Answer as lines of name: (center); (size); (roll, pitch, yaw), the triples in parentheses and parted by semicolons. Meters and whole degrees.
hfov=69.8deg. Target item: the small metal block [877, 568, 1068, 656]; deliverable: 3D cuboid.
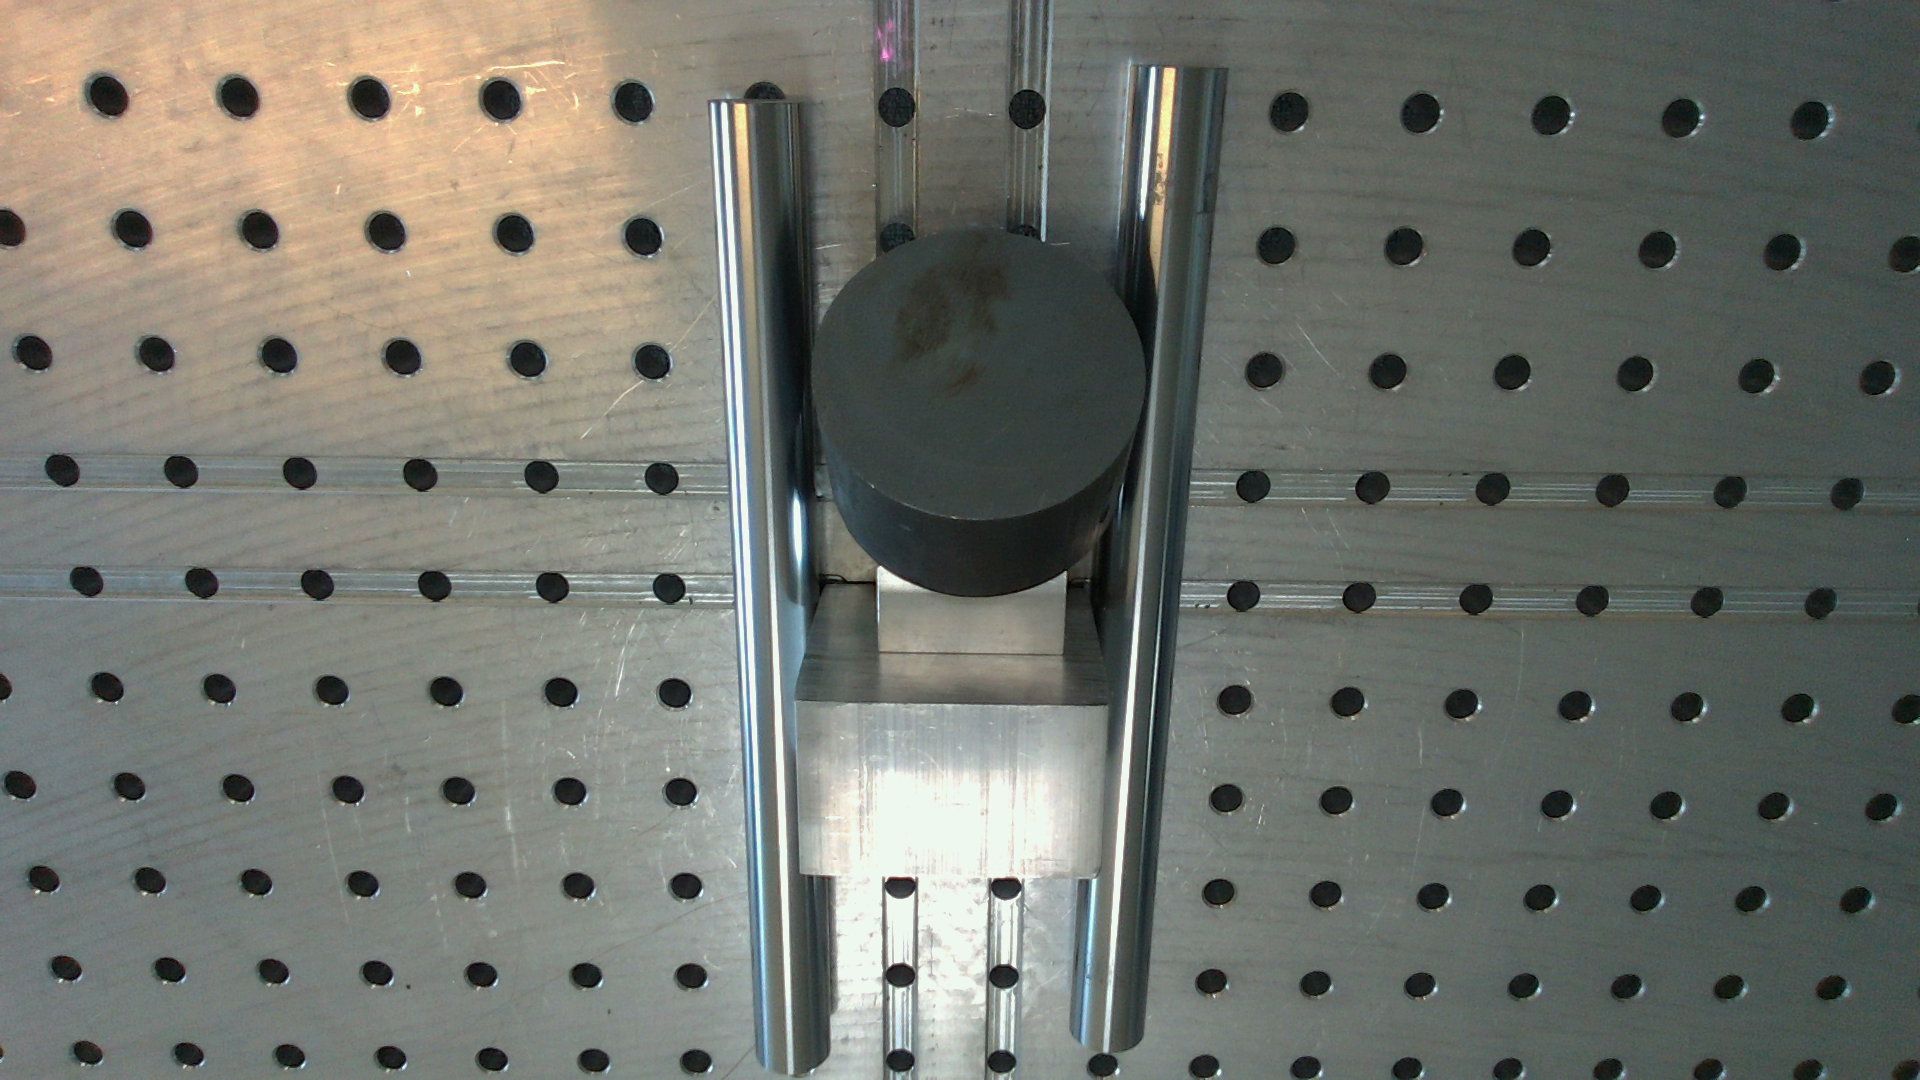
small metal block: (0.003, 0.010, 0.387); (0.050, 0.050, 0.025); (1, 110, -1)

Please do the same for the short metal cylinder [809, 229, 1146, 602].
short metal cylinder: (0.004, -0.031, 0.349); (0.080, 0.050, 0.080); (0, 66, -1)

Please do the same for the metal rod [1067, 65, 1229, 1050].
metal rod: (0.052, 0.020, 0.404); (0.025, 0.025, 0.300); (2, 110, -1)

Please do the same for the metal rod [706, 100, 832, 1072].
metal rod: (-0.054, 0.028, 0.406); (0.025, 0.025, 0.300); (0, 110, 0)

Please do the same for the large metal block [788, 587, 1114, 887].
large metal block: (-0.002, 0.052, 0.384); (0.080, 0.080, 0.050); (1, 110, 0)
